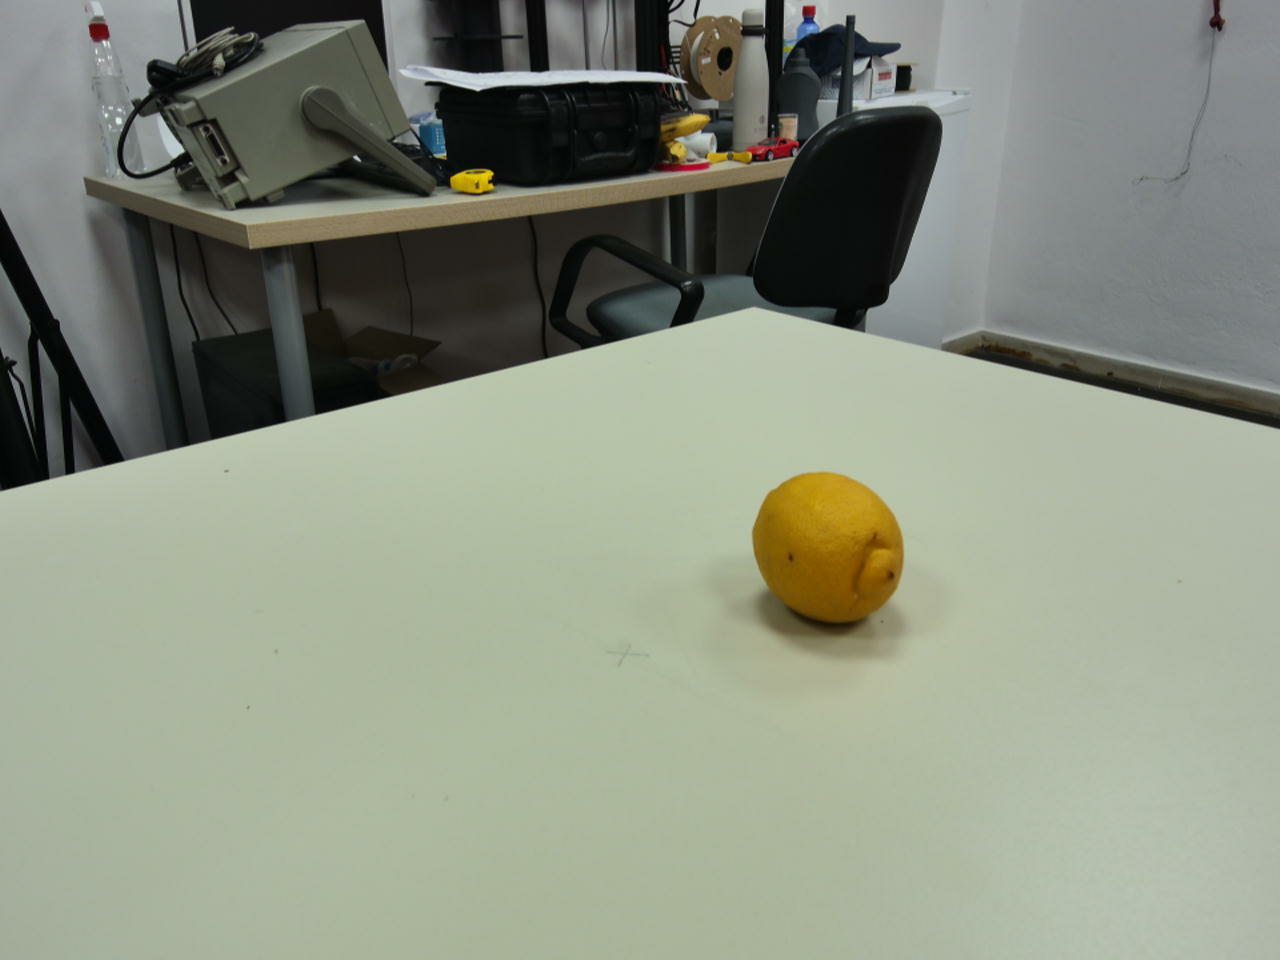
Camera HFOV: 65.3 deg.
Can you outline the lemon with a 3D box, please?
[{"bbox_3d":[0.078,0.028,0.420,0.061,0.059,0.067,1,21,3],"label":"lemon"}]
